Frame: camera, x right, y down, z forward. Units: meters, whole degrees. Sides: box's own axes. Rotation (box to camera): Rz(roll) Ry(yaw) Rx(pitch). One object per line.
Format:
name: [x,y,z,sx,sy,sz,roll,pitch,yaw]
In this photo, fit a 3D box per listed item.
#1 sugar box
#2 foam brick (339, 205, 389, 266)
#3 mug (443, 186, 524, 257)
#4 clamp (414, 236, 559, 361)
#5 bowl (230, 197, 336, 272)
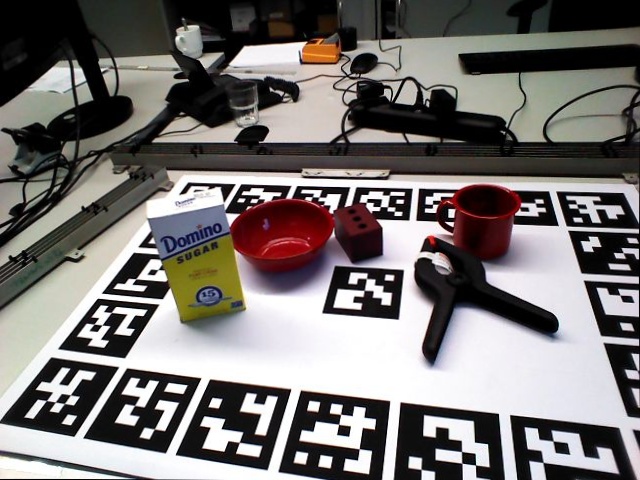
sugar box: [-0.158,0.030,0.659,0.093,0.177,0.045,-12,40,-9]
foam brick: [0.066,-0.007,0.782,0.053,0.051,0.078,-15,39,-9]
mug: [0.234,-0.034,0.750,0.117,0.082,0.092,23,47,29]
clamp: [0.180,0.057,0.671,0.165,0.037,0.202,-14,39,-5]
bowl: [-0.055,-0.001,0.781,0.162,0.055,0.161,-4,38,3]
